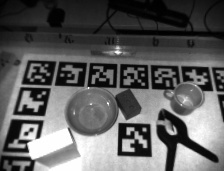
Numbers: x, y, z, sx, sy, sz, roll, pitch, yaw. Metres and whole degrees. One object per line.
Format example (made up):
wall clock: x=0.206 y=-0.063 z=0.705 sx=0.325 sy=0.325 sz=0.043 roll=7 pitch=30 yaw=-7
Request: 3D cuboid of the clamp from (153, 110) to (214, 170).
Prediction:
clamp: x=0.183 y=0.157 z=0.645 sx=0.166 sy=0.037 sz=0.201 roll=-20 pitch=66 yaw=-9

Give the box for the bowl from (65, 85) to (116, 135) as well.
bowl: x=-0.068 y=0.081 z=0.673 sx=0.162 sy=0.055 sz=0.161 roll=1 pitch=63 yaw=-2

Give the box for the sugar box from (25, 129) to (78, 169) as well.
sugar box: x=-0.147 y=0.170 z=0.559 sx=0.093 sy=0.177 sz=0.045 roll=-21 pitch=67 yaw=-12

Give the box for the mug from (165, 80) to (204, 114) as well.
mug: x=0.219 y=0.035 z=0.685 sx=0.117 sy=0.081 sz=0.093 roll=26 pitch=66 yaw=8

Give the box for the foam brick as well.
foam brick: x=0.049 y=0.064 z=0.693 sx=0.053 sy=0.051 sz=0.077 roll=-23 pitch=67 yaw=-11
